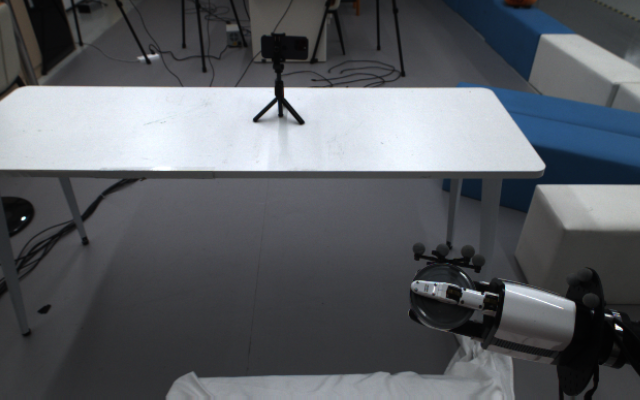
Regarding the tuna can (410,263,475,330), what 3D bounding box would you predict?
[{"bbox_3d":[0.163,0.124,0.640,0.085,0.034,0.085,-3,69,7],"label":"tuna can"}]
